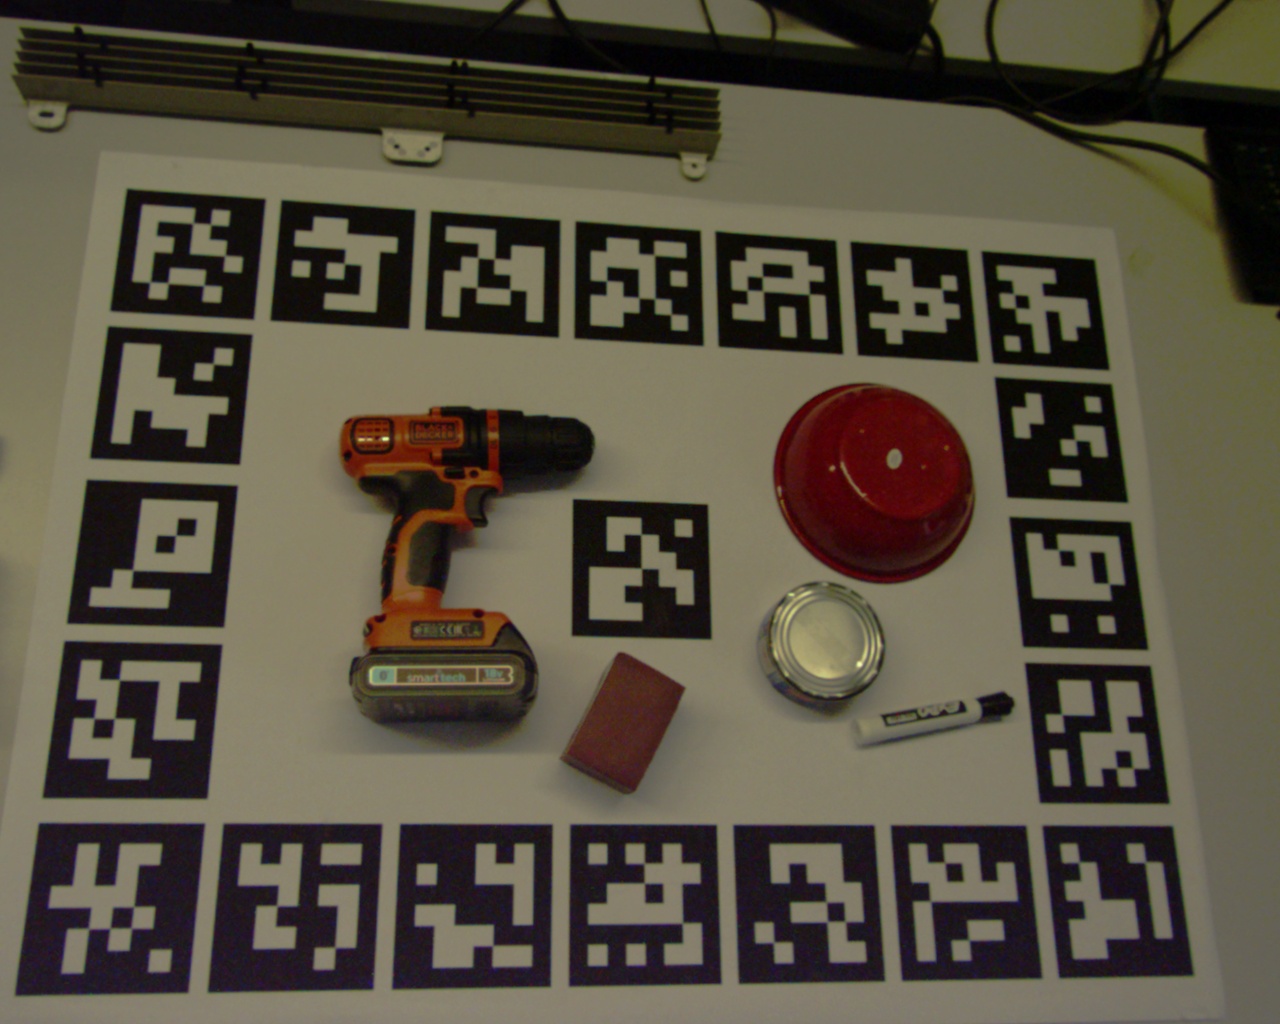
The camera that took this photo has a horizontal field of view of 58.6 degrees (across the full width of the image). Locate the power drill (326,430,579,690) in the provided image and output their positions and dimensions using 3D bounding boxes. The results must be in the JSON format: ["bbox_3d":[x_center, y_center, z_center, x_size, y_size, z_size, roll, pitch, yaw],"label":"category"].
[{"bbox_3d":[-0.133,0.031,0.815,0.183,0.057,0.187,2,71,-12],"label":"power drill"}]

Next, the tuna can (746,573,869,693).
[{"bbox_3d":[0.123,0.091,0.843,0.085,0.034,0.086,3,74,-11],"label":"tuna can"}]

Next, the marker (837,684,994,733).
[{"bbox_3d":[0.207,0.145,0.847,0.120,0.020,0.020,-8,77,-11],"label":"marker"}]

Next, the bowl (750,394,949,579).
[{"bbox_3d":[0.170,-0.033,0.886,0.161,0.055,0.162,2,67,-5],"label":"bowl"}]

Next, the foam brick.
[{"bbox_3d":[-0.018,0.144,0.804,0.051,0.053,0.078,26,73,-3],"label":"foam brick"}]
